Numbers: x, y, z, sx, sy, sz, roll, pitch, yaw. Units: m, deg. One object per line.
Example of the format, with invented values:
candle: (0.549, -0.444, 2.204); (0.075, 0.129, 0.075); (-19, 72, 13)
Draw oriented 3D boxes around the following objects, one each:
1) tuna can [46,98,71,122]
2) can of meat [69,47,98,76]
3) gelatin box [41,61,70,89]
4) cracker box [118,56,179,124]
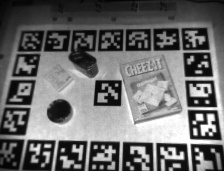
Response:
tuna can: (-0.195, 0.091, 0.792); (0.085, 0.034, 0.085); (-1, 72, 5)
can of meat: (-0.109, -0.090, 0.838); (0.101, 0.084, 0.058); (29, 74, 16)
gelatin box: (-0.221, -0.041, 0.849); (0.089, 0.030, 0.073); (42, 75, 15)
cracker box: (0.127, 0.011, 0.786); (0.164, 0.072, 0.212); (-14, 67, -2)
